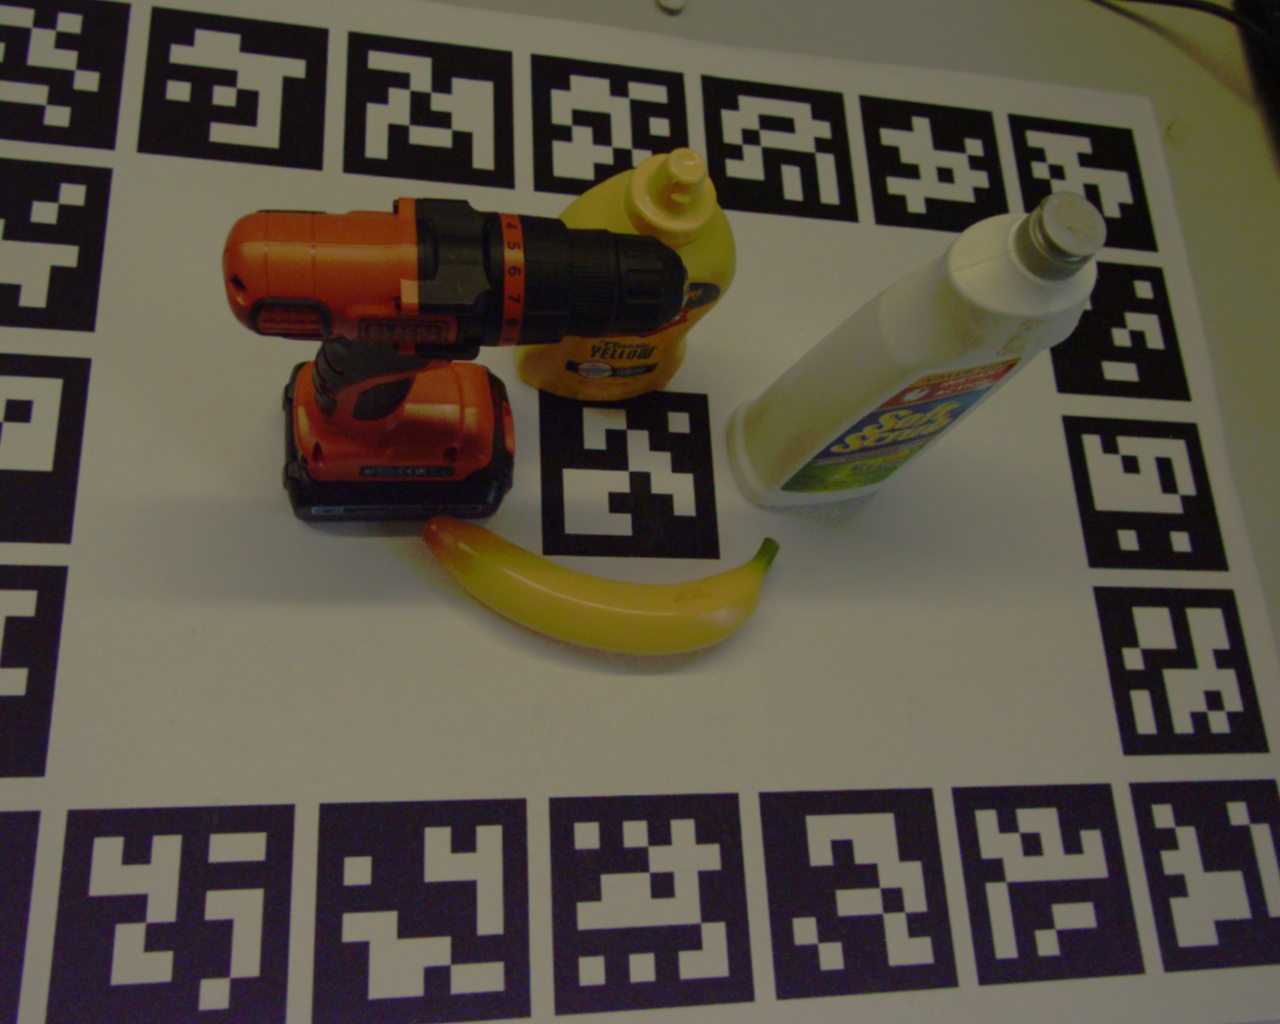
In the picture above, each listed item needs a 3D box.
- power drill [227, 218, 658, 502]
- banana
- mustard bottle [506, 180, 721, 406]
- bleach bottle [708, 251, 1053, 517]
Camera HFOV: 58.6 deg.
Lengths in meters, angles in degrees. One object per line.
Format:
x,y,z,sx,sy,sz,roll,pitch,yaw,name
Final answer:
-0.100,-0.067,0.549,0.183,0.188,0.057,-1,66,-18,power drill
-0.018,0.041,0.636,0.196,0.039,0.074,4,76,-11,banana
-0.010,-0.117,0.609,0.095,0.192,0.058,2,72,-16,mustard bottle
0.124,-0.064,0.603,0.102,0.252,0.068,-7,76,-17,bleach bottle
